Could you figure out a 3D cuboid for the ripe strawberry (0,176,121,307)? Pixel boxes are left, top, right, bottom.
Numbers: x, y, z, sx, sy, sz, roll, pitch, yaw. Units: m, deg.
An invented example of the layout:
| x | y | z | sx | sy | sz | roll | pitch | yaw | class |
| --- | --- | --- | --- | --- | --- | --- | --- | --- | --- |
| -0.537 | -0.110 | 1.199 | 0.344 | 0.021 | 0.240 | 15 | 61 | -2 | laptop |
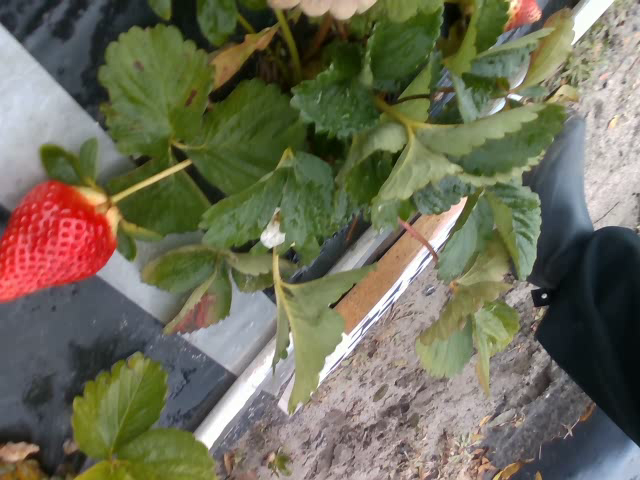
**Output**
| x | y | z | sx | sy | sz | roll | pitch | yaw | class |
| --- | --- | --- | --- | --- | --- | --- | --- | --- | --- |
| -0.097 | 0.003 | 0.213 | 0.037 | 0.051 | 0.042 | 41 | -24 | 7 | ripe strawberry |
